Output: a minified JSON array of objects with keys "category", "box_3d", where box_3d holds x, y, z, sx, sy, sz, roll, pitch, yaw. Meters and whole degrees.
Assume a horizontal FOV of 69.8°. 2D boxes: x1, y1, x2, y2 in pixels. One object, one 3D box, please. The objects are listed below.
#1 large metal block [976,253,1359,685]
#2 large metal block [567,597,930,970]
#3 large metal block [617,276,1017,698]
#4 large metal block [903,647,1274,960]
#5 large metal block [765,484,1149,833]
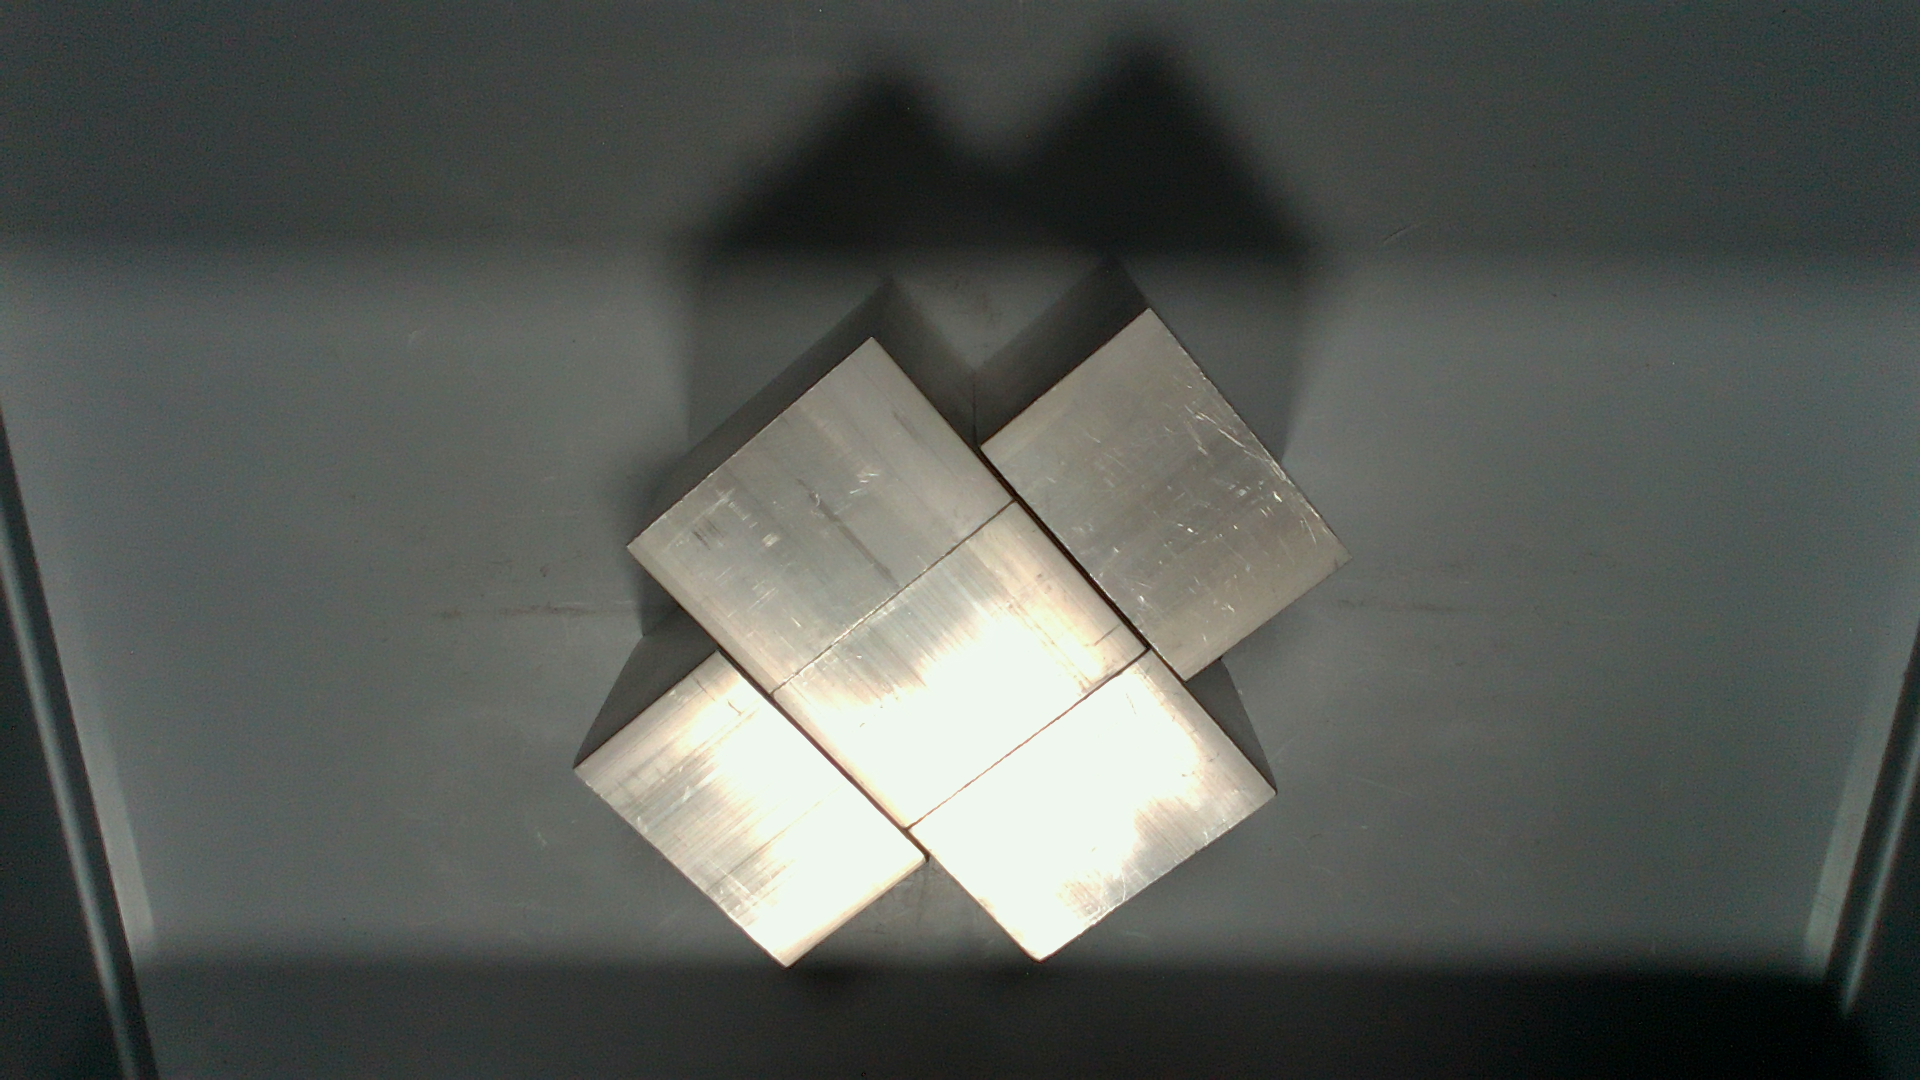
[{"category":"large metal block","box_3d":[0.049,-0.022,0.356,0.050,0.080,0.080,-39,106,13]},{"category":"large metal block","box_3d":[-0.053,0.056,0.385,0.050,0.080,0.080,-39,106,13]},{"category":"large metal block","box_3d":[-0.033,-0.017,0.357,0.080,0.080,0.050,-38,106,13]},{"category":"large metal block","box_3d":[0.032,0.055,0.385,0.080,0.080,0.050,-38,106,13]},{"category":"large metal block","box_3d":[-0.001,0.019,0.371,0.080,0.080,0.050,-38,106,13]}]
